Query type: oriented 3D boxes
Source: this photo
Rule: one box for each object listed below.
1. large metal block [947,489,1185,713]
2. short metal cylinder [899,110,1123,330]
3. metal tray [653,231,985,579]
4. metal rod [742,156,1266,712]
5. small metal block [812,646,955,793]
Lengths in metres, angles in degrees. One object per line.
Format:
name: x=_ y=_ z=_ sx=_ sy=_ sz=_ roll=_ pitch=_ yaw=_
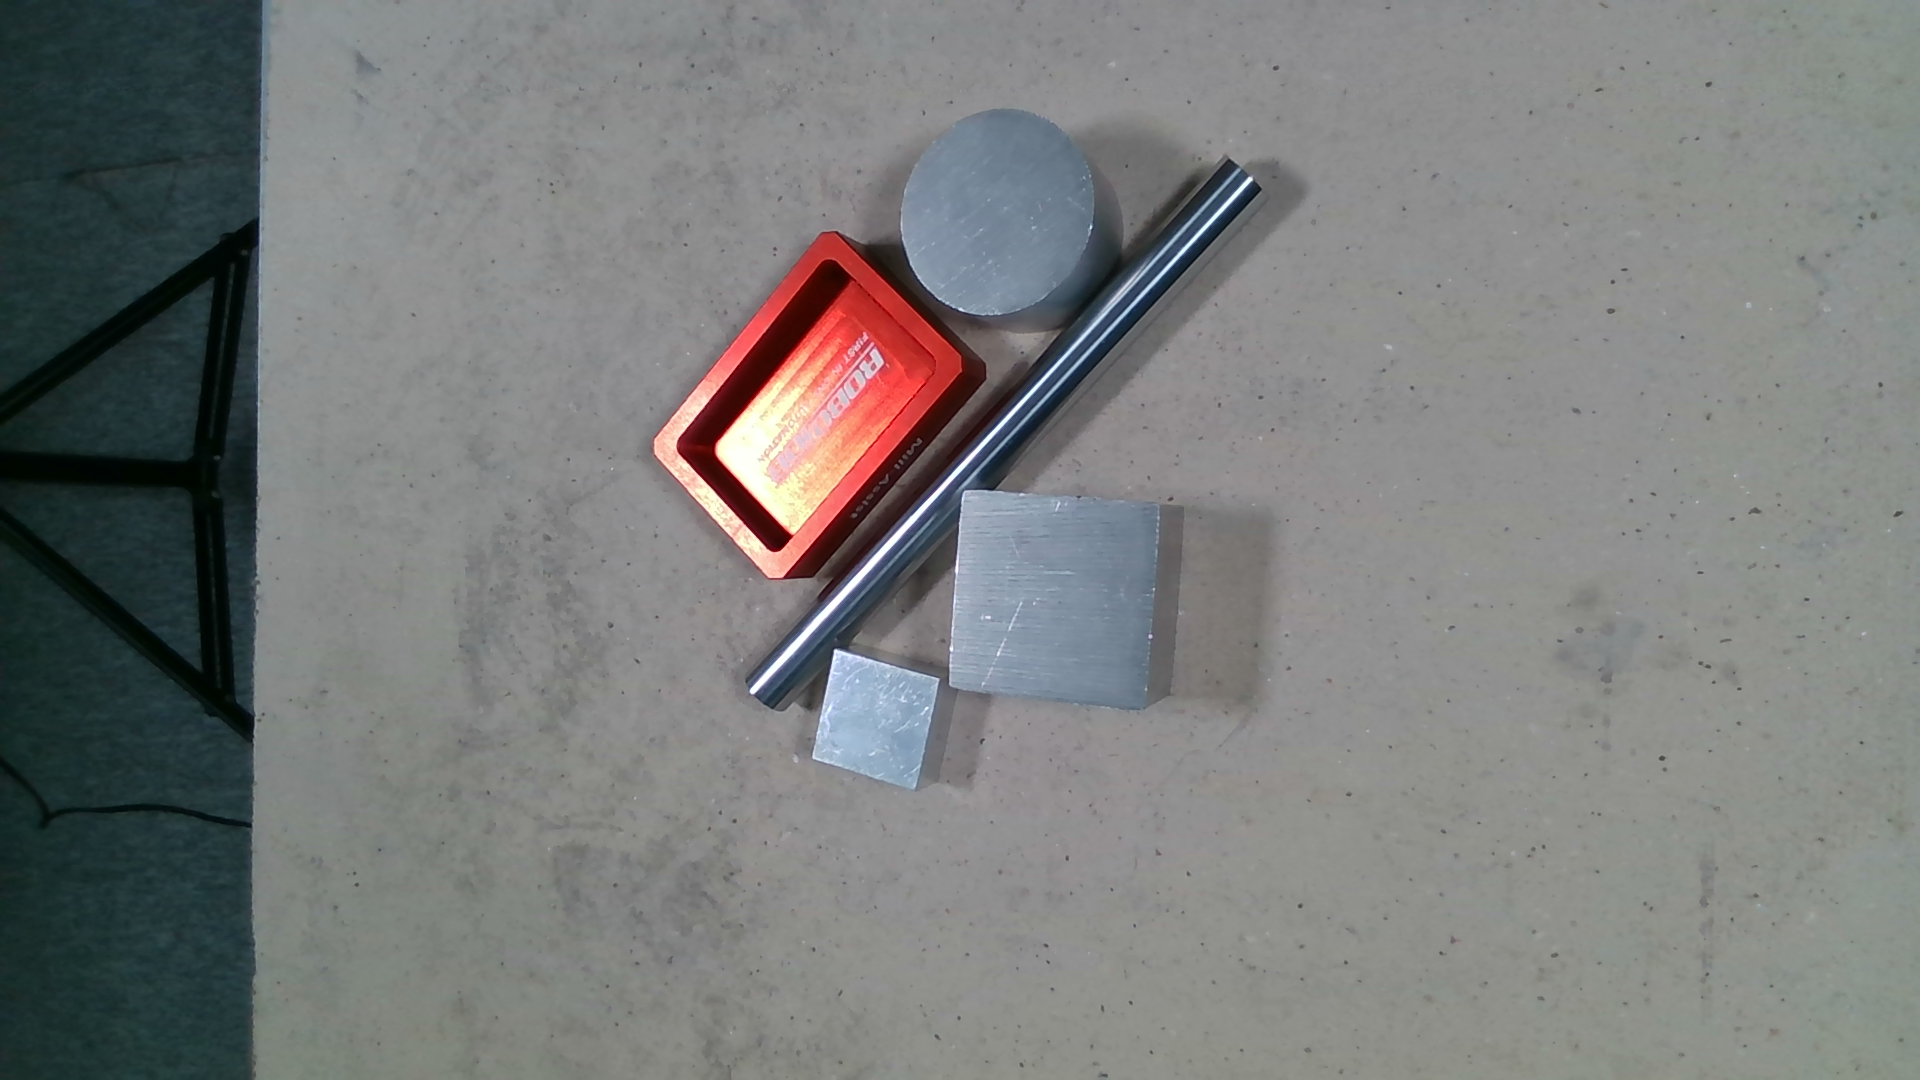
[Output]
large metal block: x=0.044 y=0.022 z=0.556 sx=0.080 sy=0.050 sz=0.080 roll=5 pitch=92 yaw=20
short metal cylinder: x=0.022 y=-0.128 z=0.563 sx=0.080 sy=0.050 sz=0.080 roll=0 pitch=90 yaw=20
metal tray: x=-0.064 y=-0.057 z=0.606 sx=0.090 sy=0.030 sz=0.130 roll=46 pitch=105 yaw=14
metal rod: x=0.012 y=-0.037 z=0.580 sx=0.300 sy=0.025 sz=0.025 roll=-47 pitch=76 yaw=15
small metal block: x=-0.032 y=0.077 z=0.599 sx=0.050 sy=0.025 sz=0.050 roll=14 pitch=95 yaw=20
